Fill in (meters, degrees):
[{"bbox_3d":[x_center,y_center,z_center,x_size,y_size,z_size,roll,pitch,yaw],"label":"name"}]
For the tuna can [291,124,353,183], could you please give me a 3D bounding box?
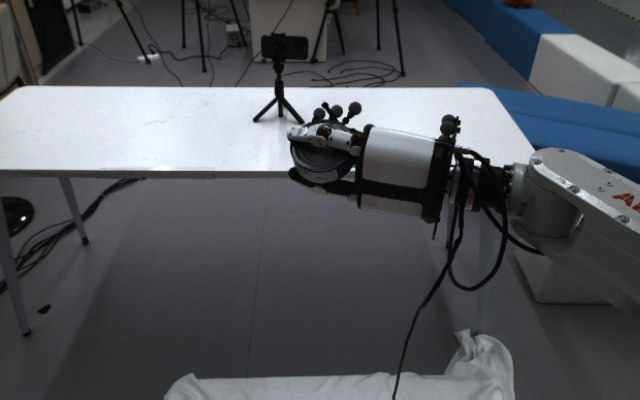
[{"bbox_3d":[0.005,-0.067,0.652,0.085,0.034,0.085,-4,56,6],"label":"tuna can"}]
